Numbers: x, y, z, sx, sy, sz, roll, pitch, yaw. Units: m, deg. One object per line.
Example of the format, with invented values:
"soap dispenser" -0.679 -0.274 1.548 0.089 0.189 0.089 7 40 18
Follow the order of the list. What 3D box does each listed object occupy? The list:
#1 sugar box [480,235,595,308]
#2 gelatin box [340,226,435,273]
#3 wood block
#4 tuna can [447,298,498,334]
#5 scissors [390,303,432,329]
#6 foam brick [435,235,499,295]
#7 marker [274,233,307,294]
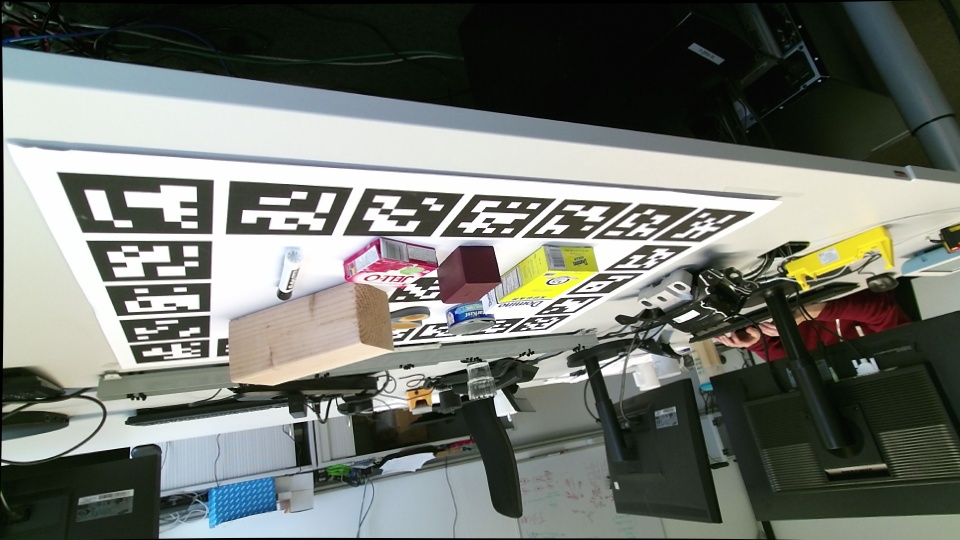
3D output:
"sugar box" 0.081 0.006 0.814 0.093 0.045 0.176 2 152 -32
"gelatin box" -0.112 -0.021 0.651 0.090 0.030 0.073 10 147 -45
"wood block" -0.242 0.082 0.746 0.207 0.090 0.090 -19 158 14
"tuna can" -0.014 0.081 0.936 0.086 0.033 0.086 -13 157 -5
"scissors" -0.173 0.078 0.865 0.203 0.016 0.088 0 153 -36
"foam brick" -0.020 -0.006 0.703 0.053 0.051 0.078 -1 153 -30
"marker" -0.226 -0.004 0.633 0.020 0.019 0.121 -1 152 -30
